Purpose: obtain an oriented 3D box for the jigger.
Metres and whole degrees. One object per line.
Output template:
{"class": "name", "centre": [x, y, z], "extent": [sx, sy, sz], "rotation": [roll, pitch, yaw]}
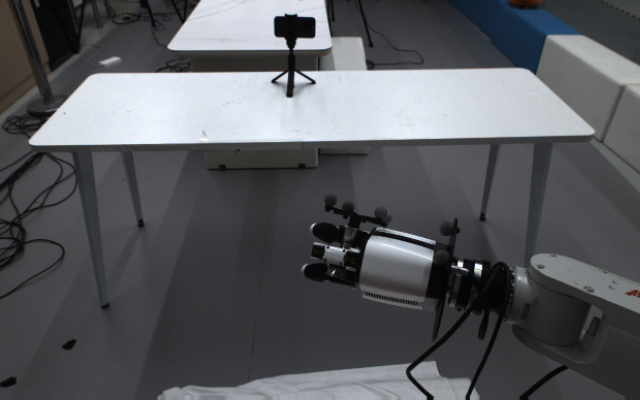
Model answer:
{"class": "jigger", "centre": [0.038, 0.071, 0.644], "extent": [0.043, 0.071, 0.043], "rotation": [16, -7, 2]}
